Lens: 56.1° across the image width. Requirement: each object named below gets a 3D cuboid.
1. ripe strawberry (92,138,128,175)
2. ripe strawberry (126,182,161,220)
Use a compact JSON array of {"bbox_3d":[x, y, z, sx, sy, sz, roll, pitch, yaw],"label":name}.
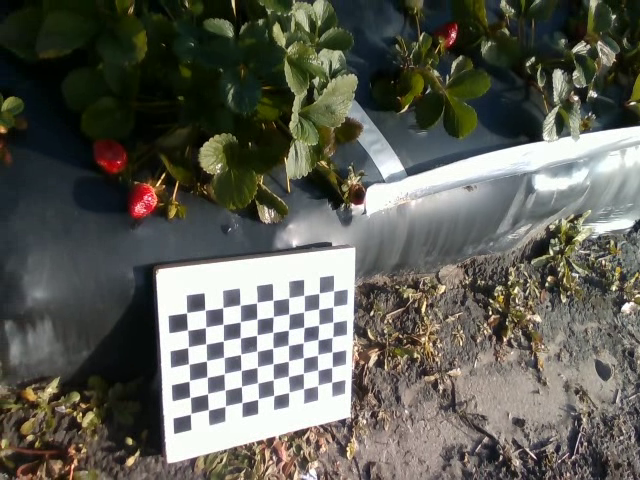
[{"bbox_3d":[-0.269,-0.106,0.777,0.039,0.048,0.054,16,2,37],"label":"ripe strawberry"},{"bbox_3d":[-0.229,-0.049,0.769,0.038,0.053,0.043,-26,-57,33],"label":"ripe strawberry"}]
